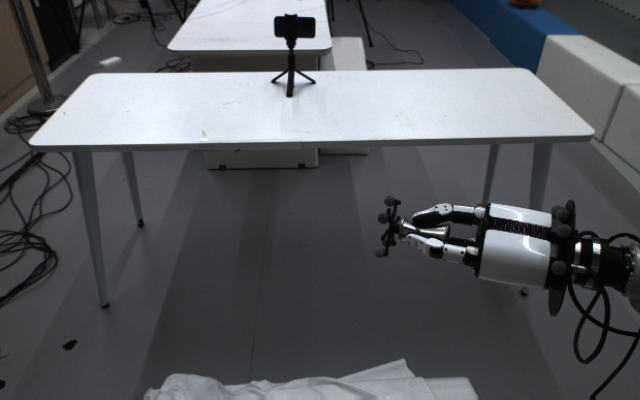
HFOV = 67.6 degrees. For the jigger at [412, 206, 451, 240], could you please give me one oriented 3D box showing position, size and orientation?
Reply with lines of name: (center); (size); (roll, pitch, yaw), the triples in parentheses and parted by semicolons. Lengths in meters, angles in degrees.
jigger: (0.161, 0.047, 0.719); (0.071, 0.043, 0.043); (10, 35, 22)
